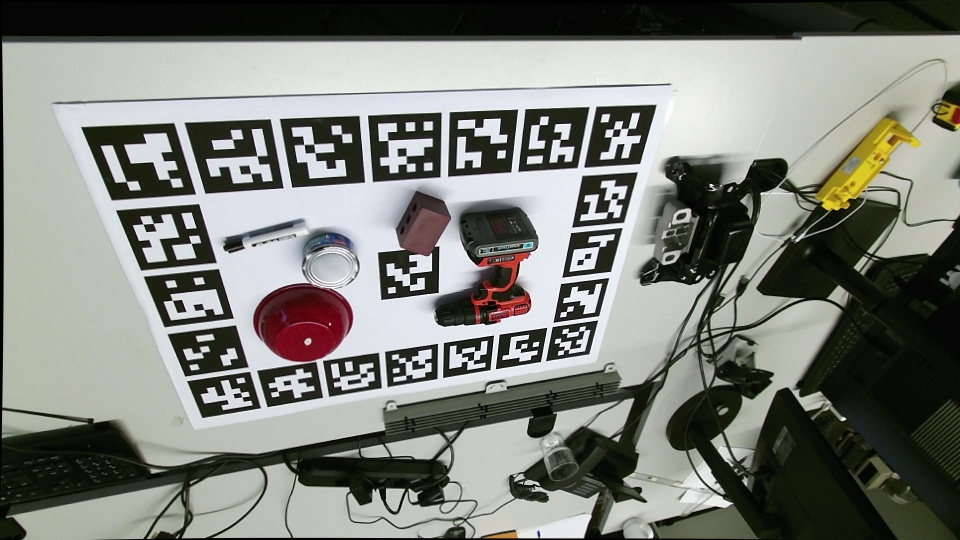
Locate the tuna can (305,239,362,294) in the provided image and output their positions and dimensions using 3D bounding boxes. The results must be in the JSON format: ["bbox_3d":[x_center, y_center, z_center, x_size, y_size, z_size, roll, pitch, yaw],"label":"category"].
[{"bbox_3d":[-0.227,-0.005,0.835,0.086,0.033,0.086,-8,127,-10],"label":"tuna can"}]

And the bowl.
[{"bbox_3d":[-0.282,0.105,0.899,0.162,0.055,0.162,-13,136,-13],"label":"bowl"}]

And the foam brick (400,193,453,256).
[{"bbox_3d":[-0.083,-0.070,0.833,0.051,0.052,0.078,16,118,-26],"label":"foam brick"}]

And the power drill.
[{"bbox_3d":[0.024,0.011,0.923,0.185,0.057,0.187,-6,129,-10],"label":"power drill"}]

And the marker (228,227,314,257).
[{"bbox_3d":[-0.308,-0.041,0.788,0.121,0.019,0.019,-14,127,-8],"label":"marker"}]
